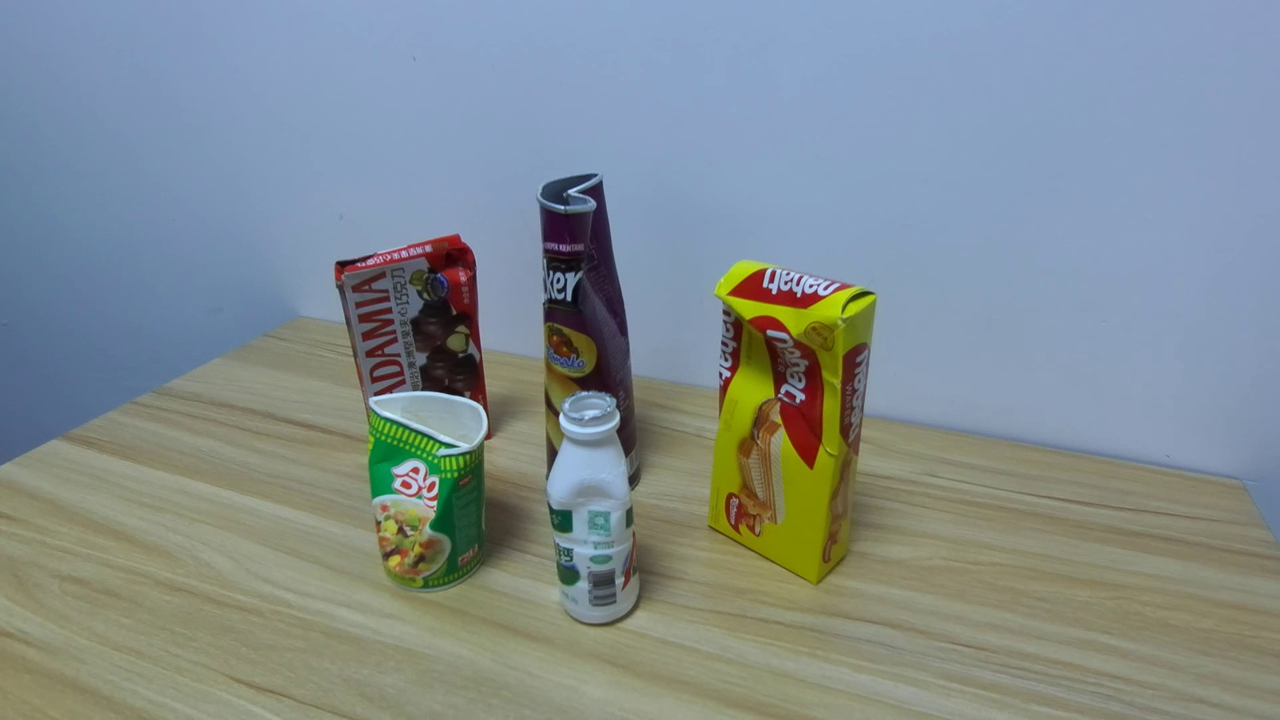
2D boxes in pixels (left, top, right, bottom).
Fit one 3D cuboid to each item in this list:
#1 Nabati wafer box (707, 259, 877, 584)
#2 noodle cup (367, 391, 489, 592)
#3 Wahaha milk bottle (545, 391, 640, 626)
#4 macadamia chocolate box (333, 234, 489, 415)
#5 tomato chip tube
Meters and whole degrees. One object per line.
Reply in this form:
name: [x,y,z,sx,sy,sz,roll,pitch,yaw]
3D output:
Nabati wafer box: [0.089,0.039,0.456,0.106,0.204,0.042,22,37,37]
noodle cup: [-0.141,0.090,0.472,0.075,0.122,0.082,-2,18,-20]
Wahaha milk bottle: [-0.028,0.089,0.426,0.055,0.149,0.055,-2,28,2]
macadamia chocolate box: [-0.176,-0.006,0.571,0.103,0.187,0.027,-14,35,-23]
tomato chip tube: [-0.038,-0.010,0.524,0.078,0.235,0.076,-18,32,-31]
